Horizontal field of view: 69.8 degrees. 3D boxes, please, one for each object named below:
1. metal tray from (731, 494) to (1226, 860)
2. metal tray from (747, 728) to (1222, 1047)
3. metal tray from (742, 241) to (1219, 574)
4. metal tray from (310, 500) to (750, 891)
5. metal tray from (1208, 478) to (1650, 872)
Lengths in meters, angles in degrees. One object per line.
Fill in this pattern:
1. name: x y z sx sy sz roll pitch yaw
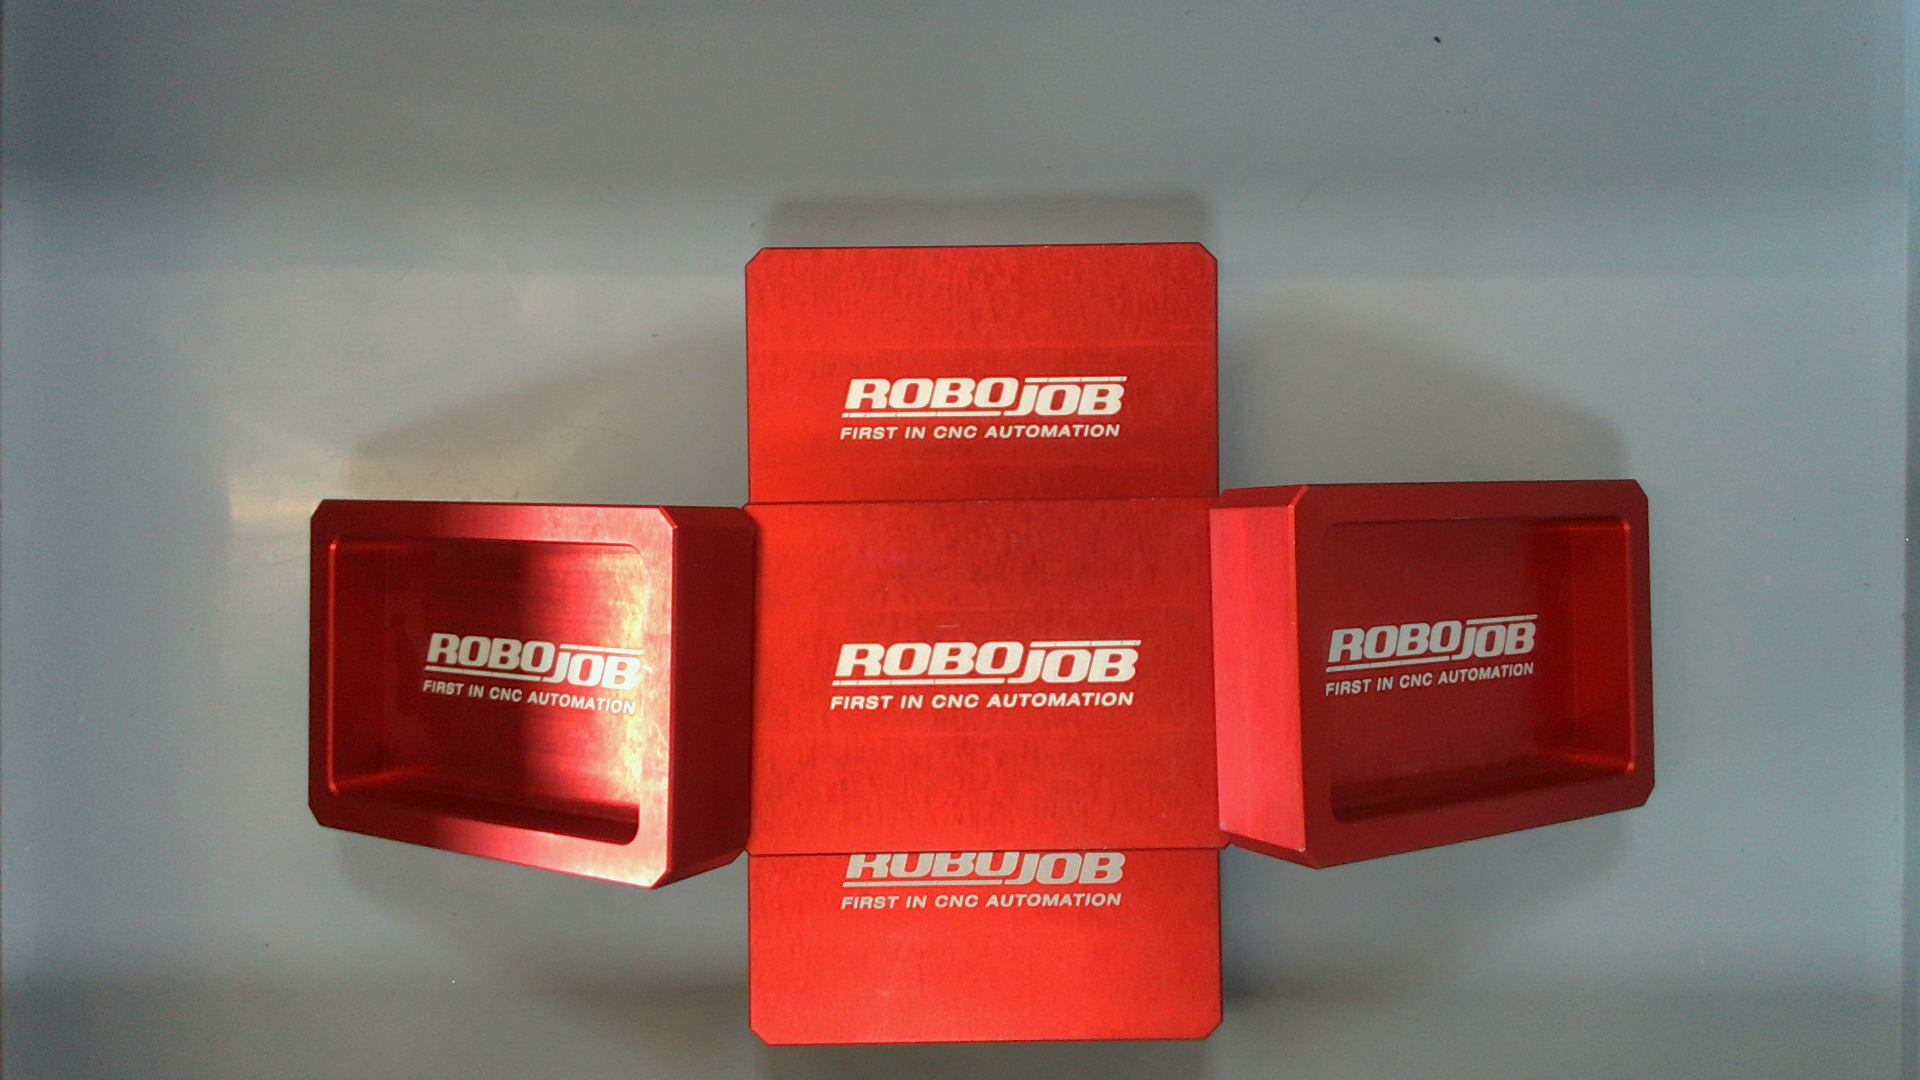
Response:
1. metal tray: 0.006 0.035 0.362 0.130 0.030 0.090 -1 90 -1
2. metal tray: 0.007 0.093 0.391 0.130 0.030 0.090 -1 90 -1
3. metal tray: 0.006 -0.036 0.391 0.130 0.030 0.090 -1 90 -1
4. metal tray: -0.116 0.035 0.361 0.130 0.030 0.090 2 91 29
5. metal tray: 0.126 0.030 0.361 0.130 0.030 0.090 -2 91 -29
